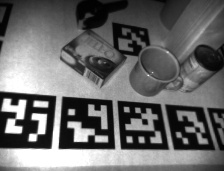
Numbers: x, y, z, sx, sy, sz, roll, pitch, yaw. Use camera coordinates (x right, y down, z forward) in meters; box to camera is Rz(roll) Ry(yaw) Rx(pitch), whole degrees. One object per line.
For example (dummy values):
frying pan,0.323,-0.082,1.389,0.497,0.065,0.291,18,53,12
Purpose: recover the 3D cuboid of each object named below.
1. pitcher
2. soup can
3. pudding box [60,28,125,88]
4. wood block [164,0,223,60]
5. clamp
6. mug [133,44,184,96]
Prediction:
pitcher,0.238,-0.256,0.550,0.190,0.242,0.132,1,58,-13
soup can,0.197,-0.041,0.495,0.068,0.102,0.067,7,62,-13
pudding box,-0.040,-0.061,0.471,0.113,0.038,0.090,35,60,4
wood block,0.220,-0.143,0.499,0.091,0.205,0.090,2,60,-20
clamp,-0.033,-0.198,0.557,0.122,0.036,0.165,33,57,-7
mug,0.106,-0.023,0.468,0.117,0.081,0.093,34,54,4
